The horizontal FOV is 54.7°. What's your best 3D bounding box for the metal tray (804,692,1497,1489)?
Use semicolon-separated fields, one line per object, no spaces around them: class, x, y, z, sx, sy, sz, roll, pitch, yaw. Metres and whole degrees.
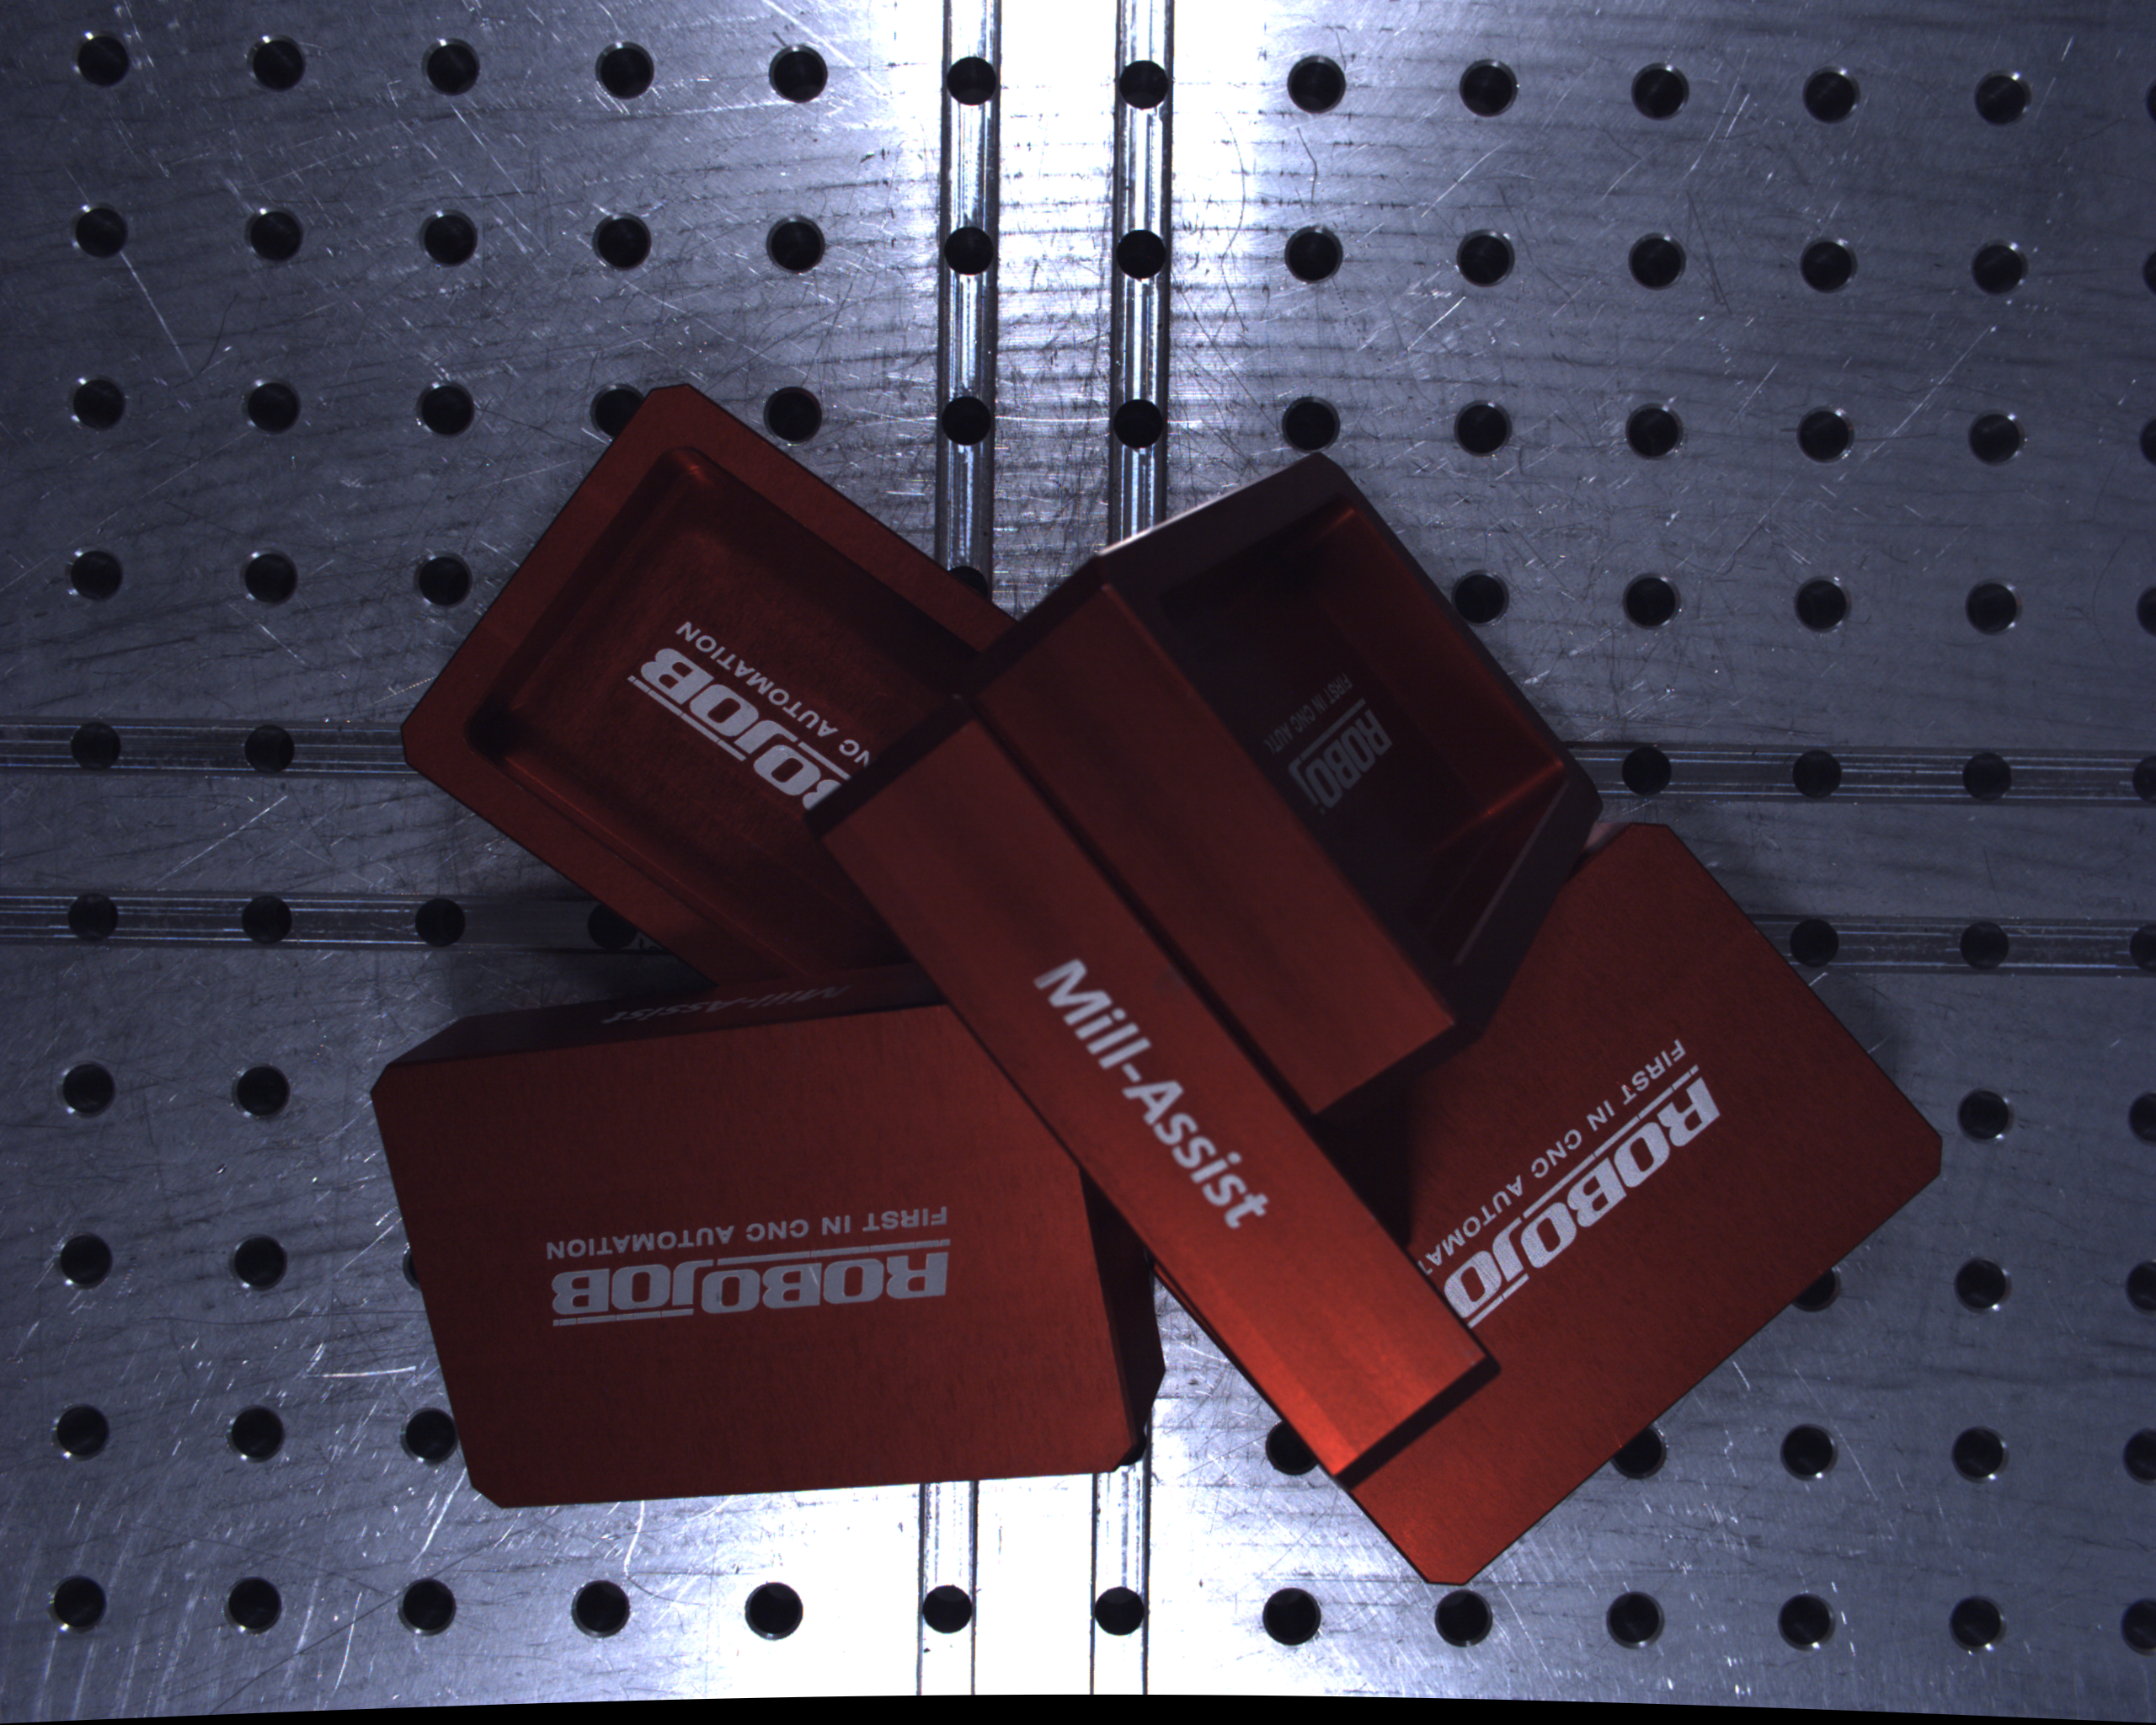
metal tray;0.011;0.034;0.350;0.030;0.090;0.130;-38;91;0

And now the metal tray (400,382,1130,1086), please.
metal tray;-0.052;-0.020;0.410;0.130;0.030;0.090;36;90;-1

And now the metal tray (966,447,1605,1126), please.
metal tray;0.043;-0.021;0.362;0.030;0.131;0.090;-38;90;28

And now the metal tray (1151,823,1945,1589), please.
metal tray;0.090;0.065;0.411;0.130;0.030;0.090;-41;91;-1

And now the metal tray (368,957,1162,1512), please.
metal tray;-0.057;0.069;0.386;0.130;0.030;0.089;-8;101;14
